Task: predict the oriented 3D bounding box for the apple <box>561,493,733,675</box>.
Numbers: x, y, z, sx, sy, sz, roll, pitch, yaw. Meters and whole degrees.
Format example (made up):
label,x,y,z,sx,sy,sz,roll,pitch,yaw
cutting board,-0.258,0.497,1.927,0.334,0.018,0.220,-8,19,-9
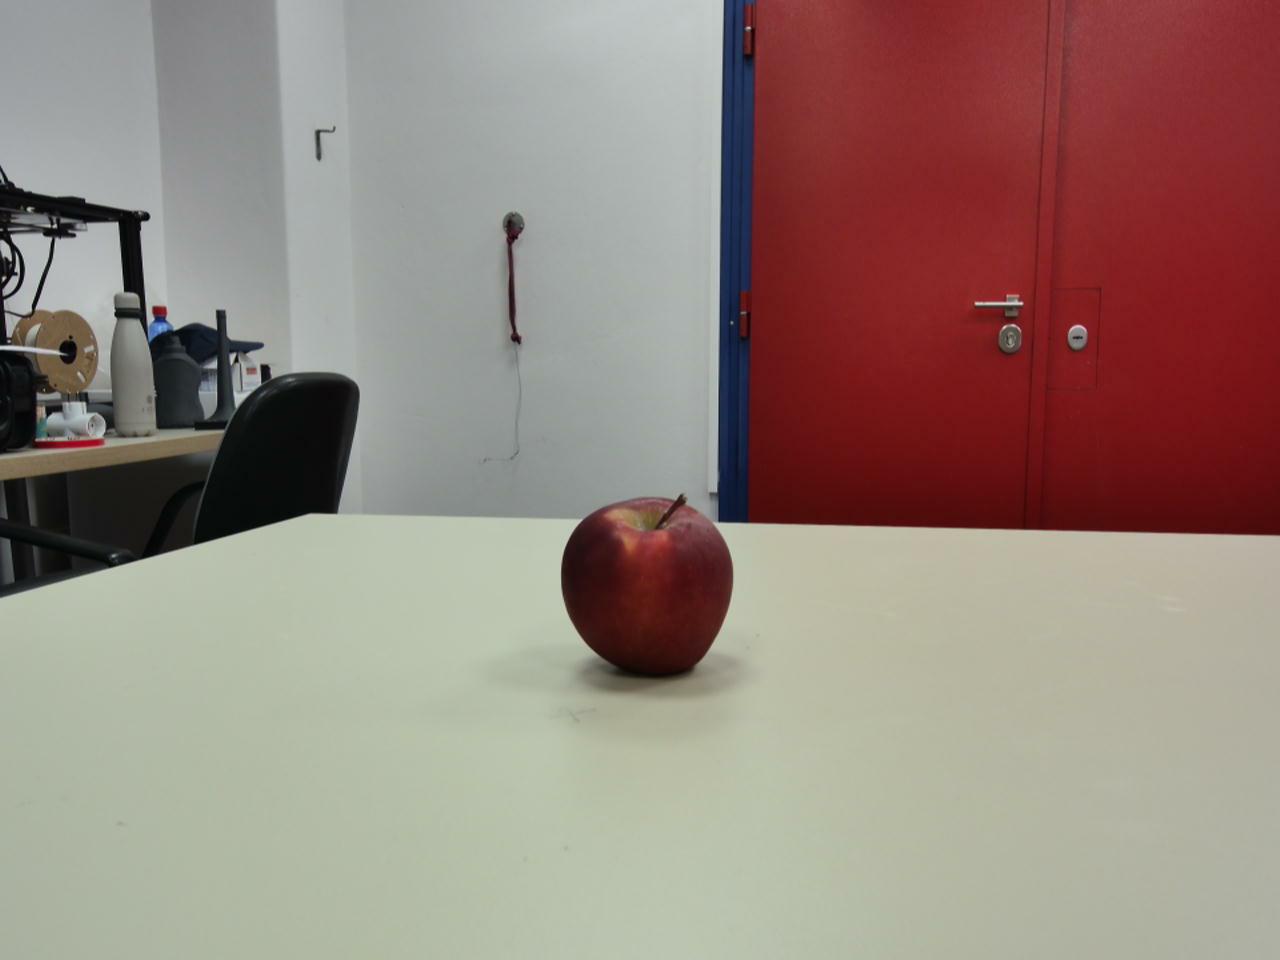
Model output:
label,x,y,z,sx,sy,sz,roll,pitch,yaw
apple,0.003,0.041,0.406,0.070,0.072,0.070,-1,4,0
